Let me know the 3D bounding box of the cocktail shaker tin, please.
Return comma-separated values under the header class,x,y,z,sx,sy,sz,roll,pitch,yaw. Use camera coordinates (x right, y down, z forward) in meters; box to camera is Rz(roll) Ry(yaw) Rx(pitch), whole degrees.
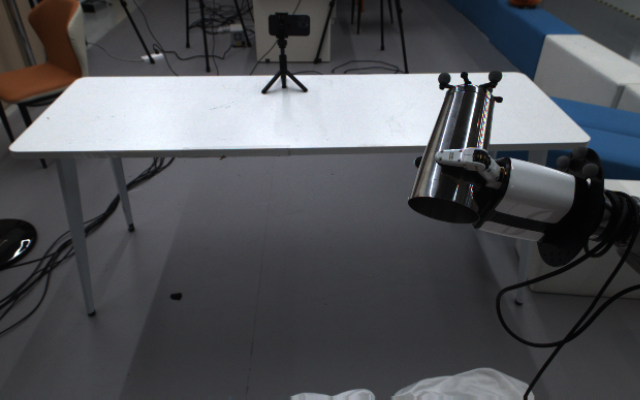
class,x,y,z,sx,sy,sz,roll,pitch,yaw
cocktail shaker tin,0.183,-0.064,0.646,0.093,0.093,0.170,13,74,15
